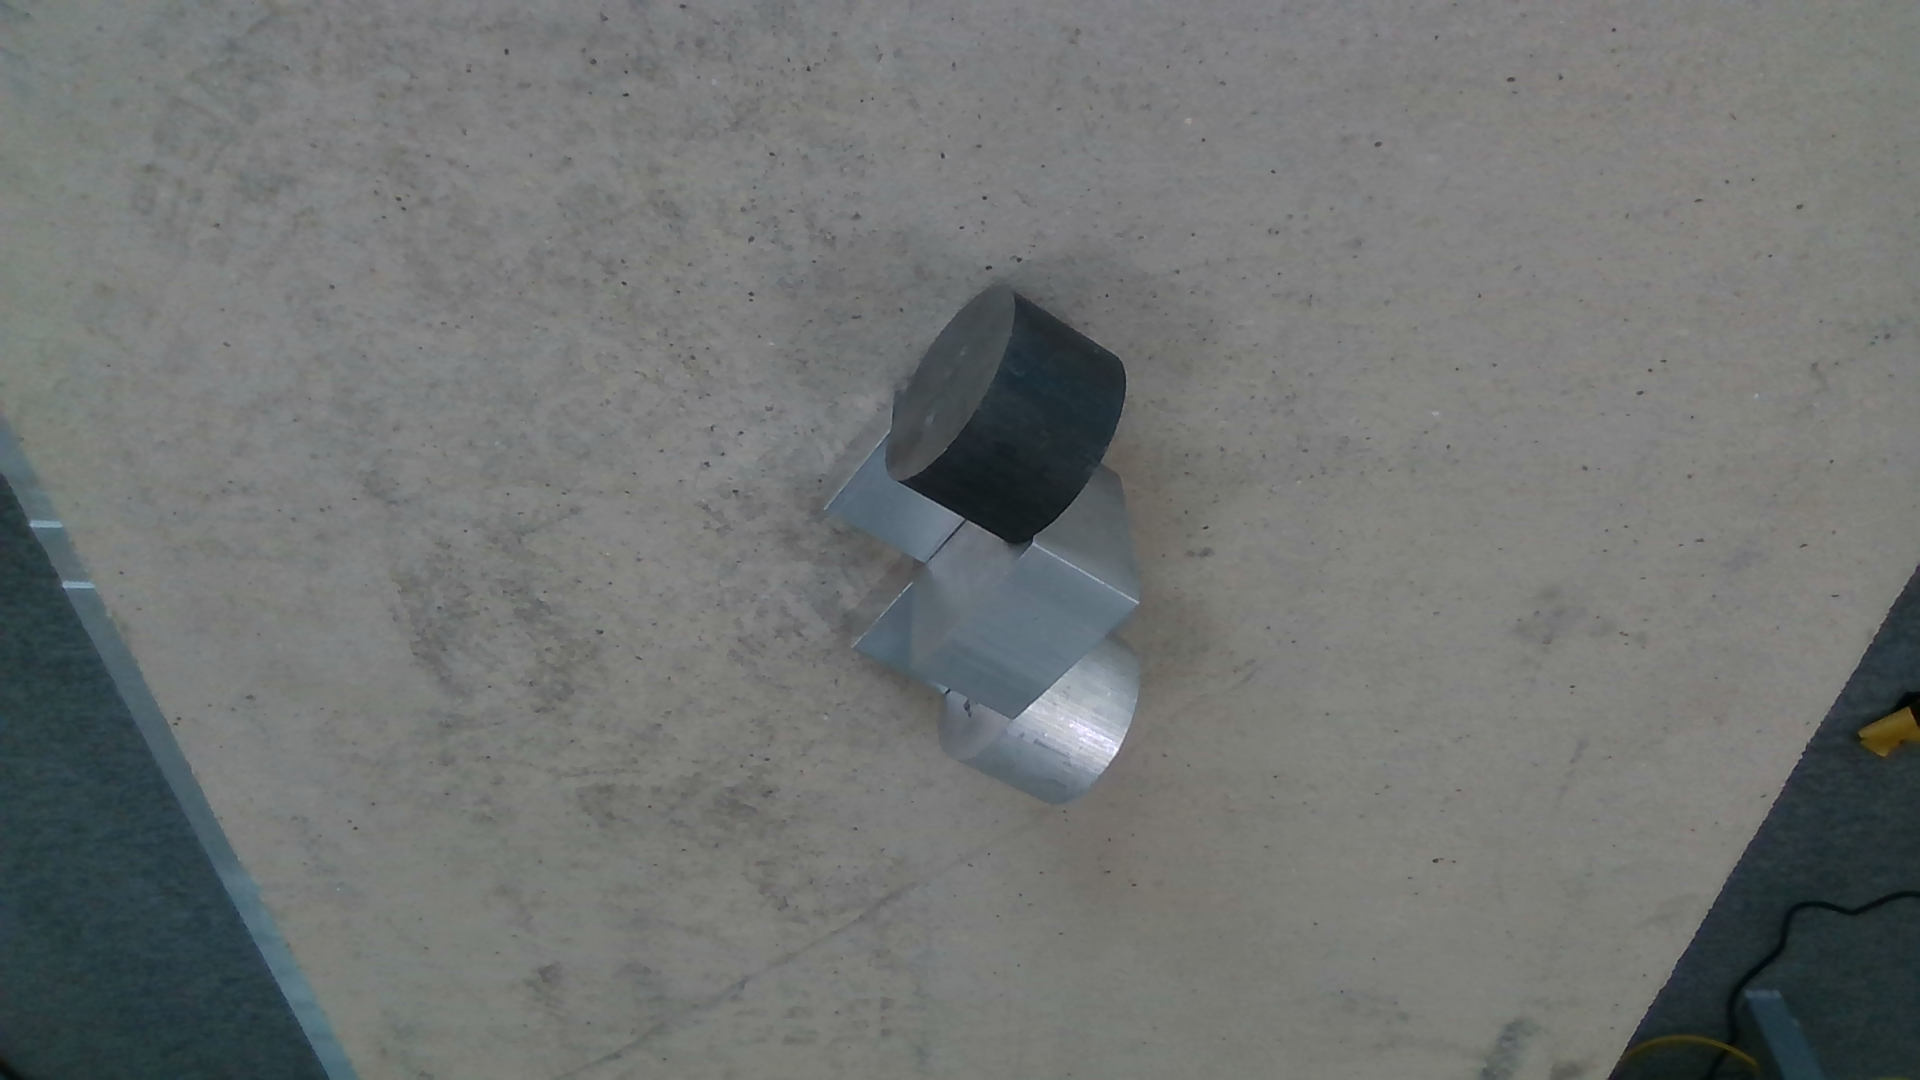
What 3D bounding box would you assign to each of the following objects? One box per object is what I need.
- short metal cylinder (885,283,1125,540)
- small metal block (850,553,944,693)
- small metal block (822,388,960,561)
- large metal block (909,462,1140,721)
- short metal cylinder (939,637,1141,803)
[{"bbox_3d":[0.015,-0.046,0.505,0.050,0.080,0.080,28,125,-22],"label":"short metal cylinder"},{"bbox_3d":[-0.014,0.035,0.609,0.050,0.025,0.050,28,125,-22],"label":"small metal block"},{"bbox_3d":[-0.021,-0.026,0.559,0.050,0.025,0.050,28,125,-22],"label":"small metal block"},{"bbox_3d":[0.024,0.011,0.554,0.050,0.080,0.080,28,125,-22],"label":"large metal block"},{"bbox_3d":[0.034,0.068,0.601,0.050,0.080,0.080,28,124,-22],"label":"short metal cylinder"}]
